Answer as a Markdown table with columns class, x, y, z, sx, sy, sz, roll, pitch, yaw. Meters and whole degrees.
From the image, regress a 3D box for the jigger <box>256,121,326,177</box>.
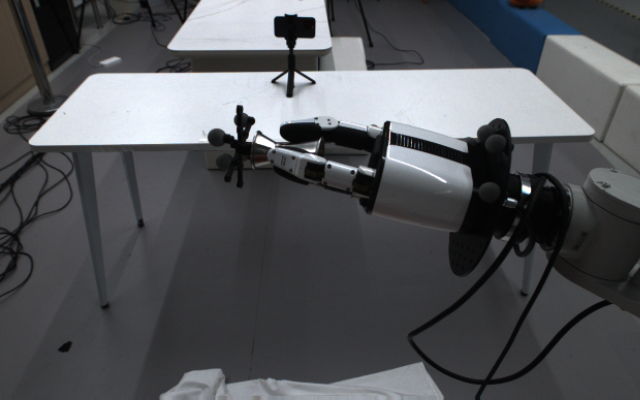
| class | x | y | z | sx | sy | sz | roll | pitch | yaw |
| --- | --- | --- | --- | --- | --- | --- | --- | --- | --- |
| jigger | -0.027 | -0.053 | 0.499 | 0.071 | 0.043 | 0.043 | 6 | 35 | 8 |
